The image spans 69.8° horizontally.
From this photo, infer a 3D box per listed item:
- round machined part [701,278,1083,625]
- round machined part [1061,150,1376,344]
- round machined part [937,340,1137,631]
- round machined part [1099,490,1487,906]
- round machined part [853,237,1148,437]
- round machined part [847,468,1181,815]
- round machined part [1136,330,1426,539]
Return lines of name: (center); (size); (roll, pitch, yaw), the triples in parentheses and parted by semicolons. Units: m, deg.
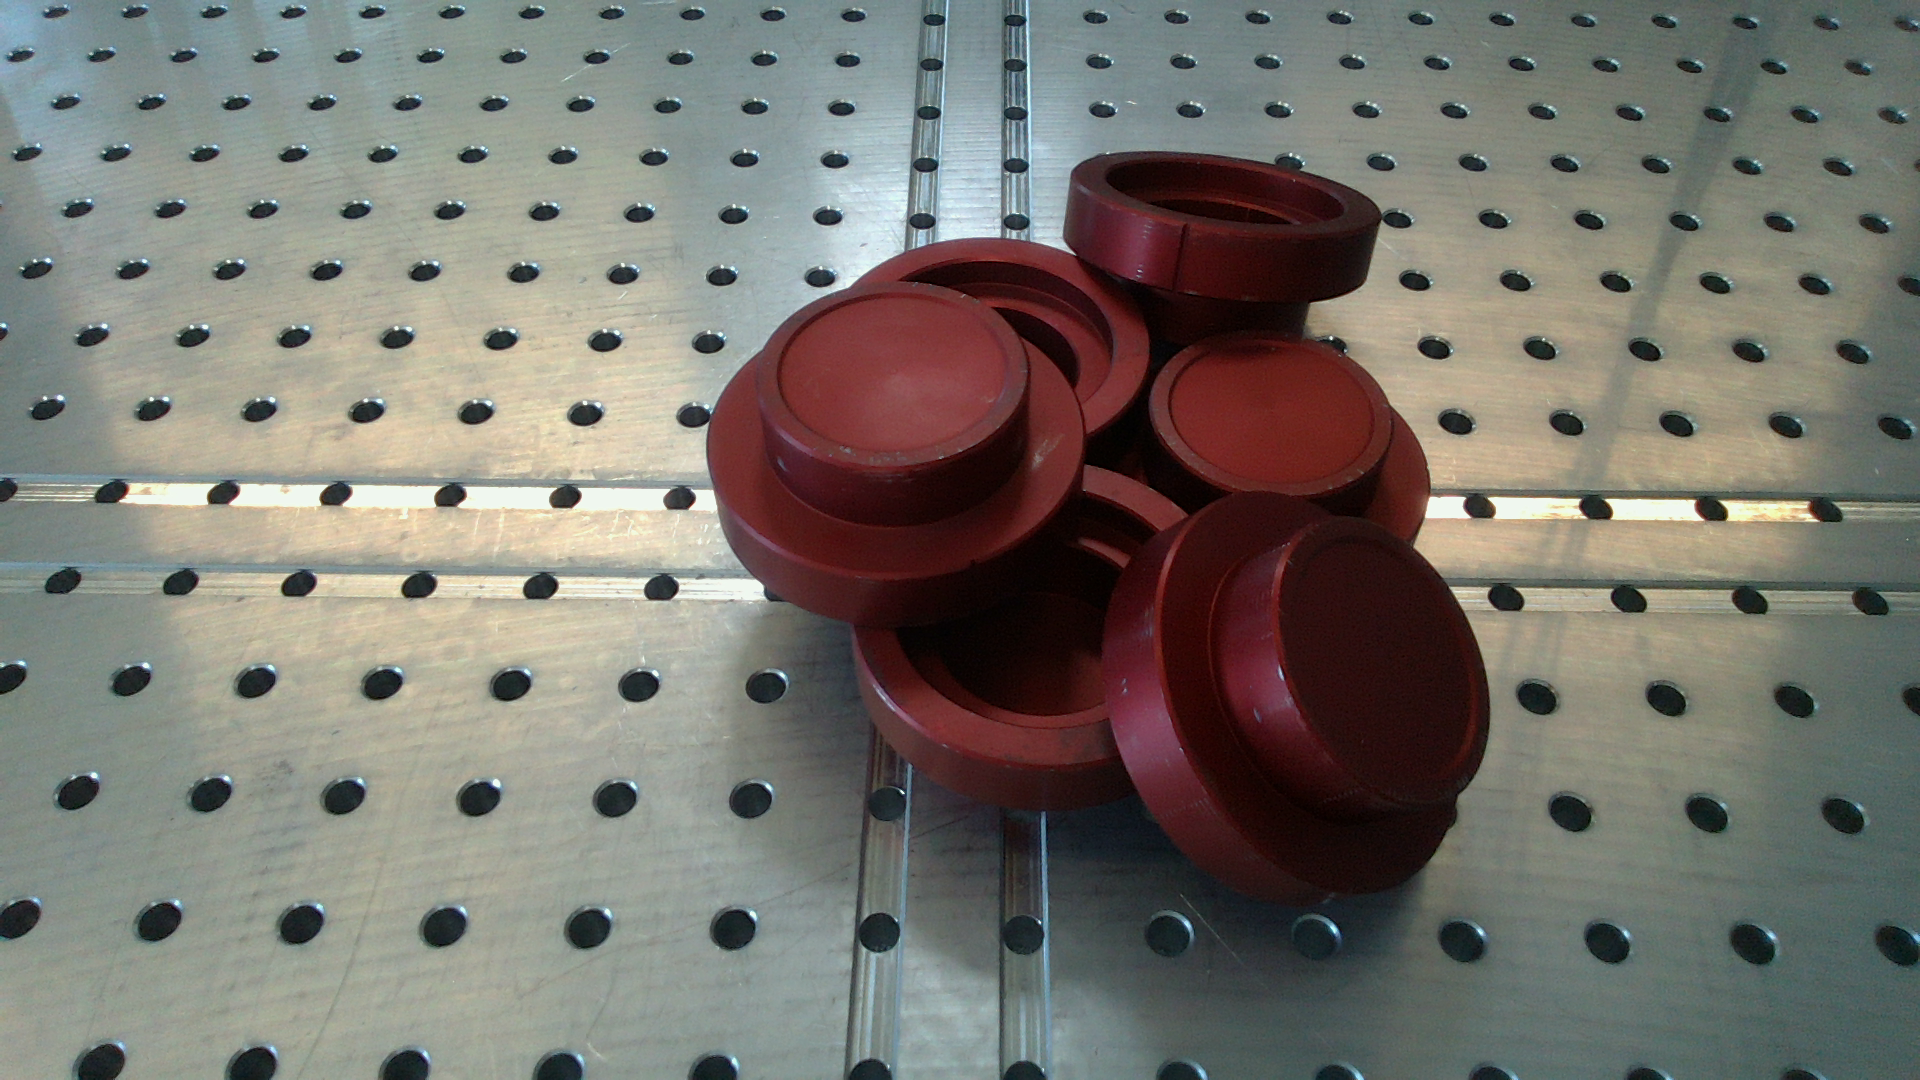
round machined part: (-0.017, -0.029, 0.353); (0.098, 0.042, 0.098); (0, 50, 0)
round machined part: (0.081, -0.093, 0.447); (0.098, 0.042, 0.098); (6, 29, -3)
round machined part: (0.000, -0.013, 0.394); (0.098, 0.042, 0.098); (0, 50, 0)
round machined part: (0.084, 0.033, 0.324); (0.098, 0.042, 0.098); (15, 61, -28)
round machined part: (0.007, -0.046, 0.423); (0.098, 0.042, 0.098); (0, 50, 0)
round machined part: (0.021, 0.029, 0.359); (0.098, 0.042, 0.098); (0, 50, 0)
round machined part: (0.087, -0.024, 0.403); (0.098, 0.042, 0.098); (0, 50, 0)
